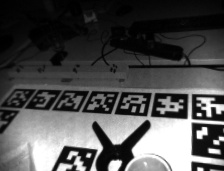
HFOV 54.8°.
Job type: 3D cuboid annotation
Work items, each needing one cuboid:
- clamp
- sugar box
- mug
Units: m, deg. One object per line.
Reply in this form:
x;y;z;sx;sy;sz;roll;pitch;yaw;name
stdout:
0.005;0.167;0.556;0.164;0.037;0.202;-6;43;10;clamp
-0.238;0.229;0.531;0.093;0.046;0.174;-24;36;-9;sugar box
0.062;0.209;0.447;0.093;0.082;0.116;-18;38;-2;mug
